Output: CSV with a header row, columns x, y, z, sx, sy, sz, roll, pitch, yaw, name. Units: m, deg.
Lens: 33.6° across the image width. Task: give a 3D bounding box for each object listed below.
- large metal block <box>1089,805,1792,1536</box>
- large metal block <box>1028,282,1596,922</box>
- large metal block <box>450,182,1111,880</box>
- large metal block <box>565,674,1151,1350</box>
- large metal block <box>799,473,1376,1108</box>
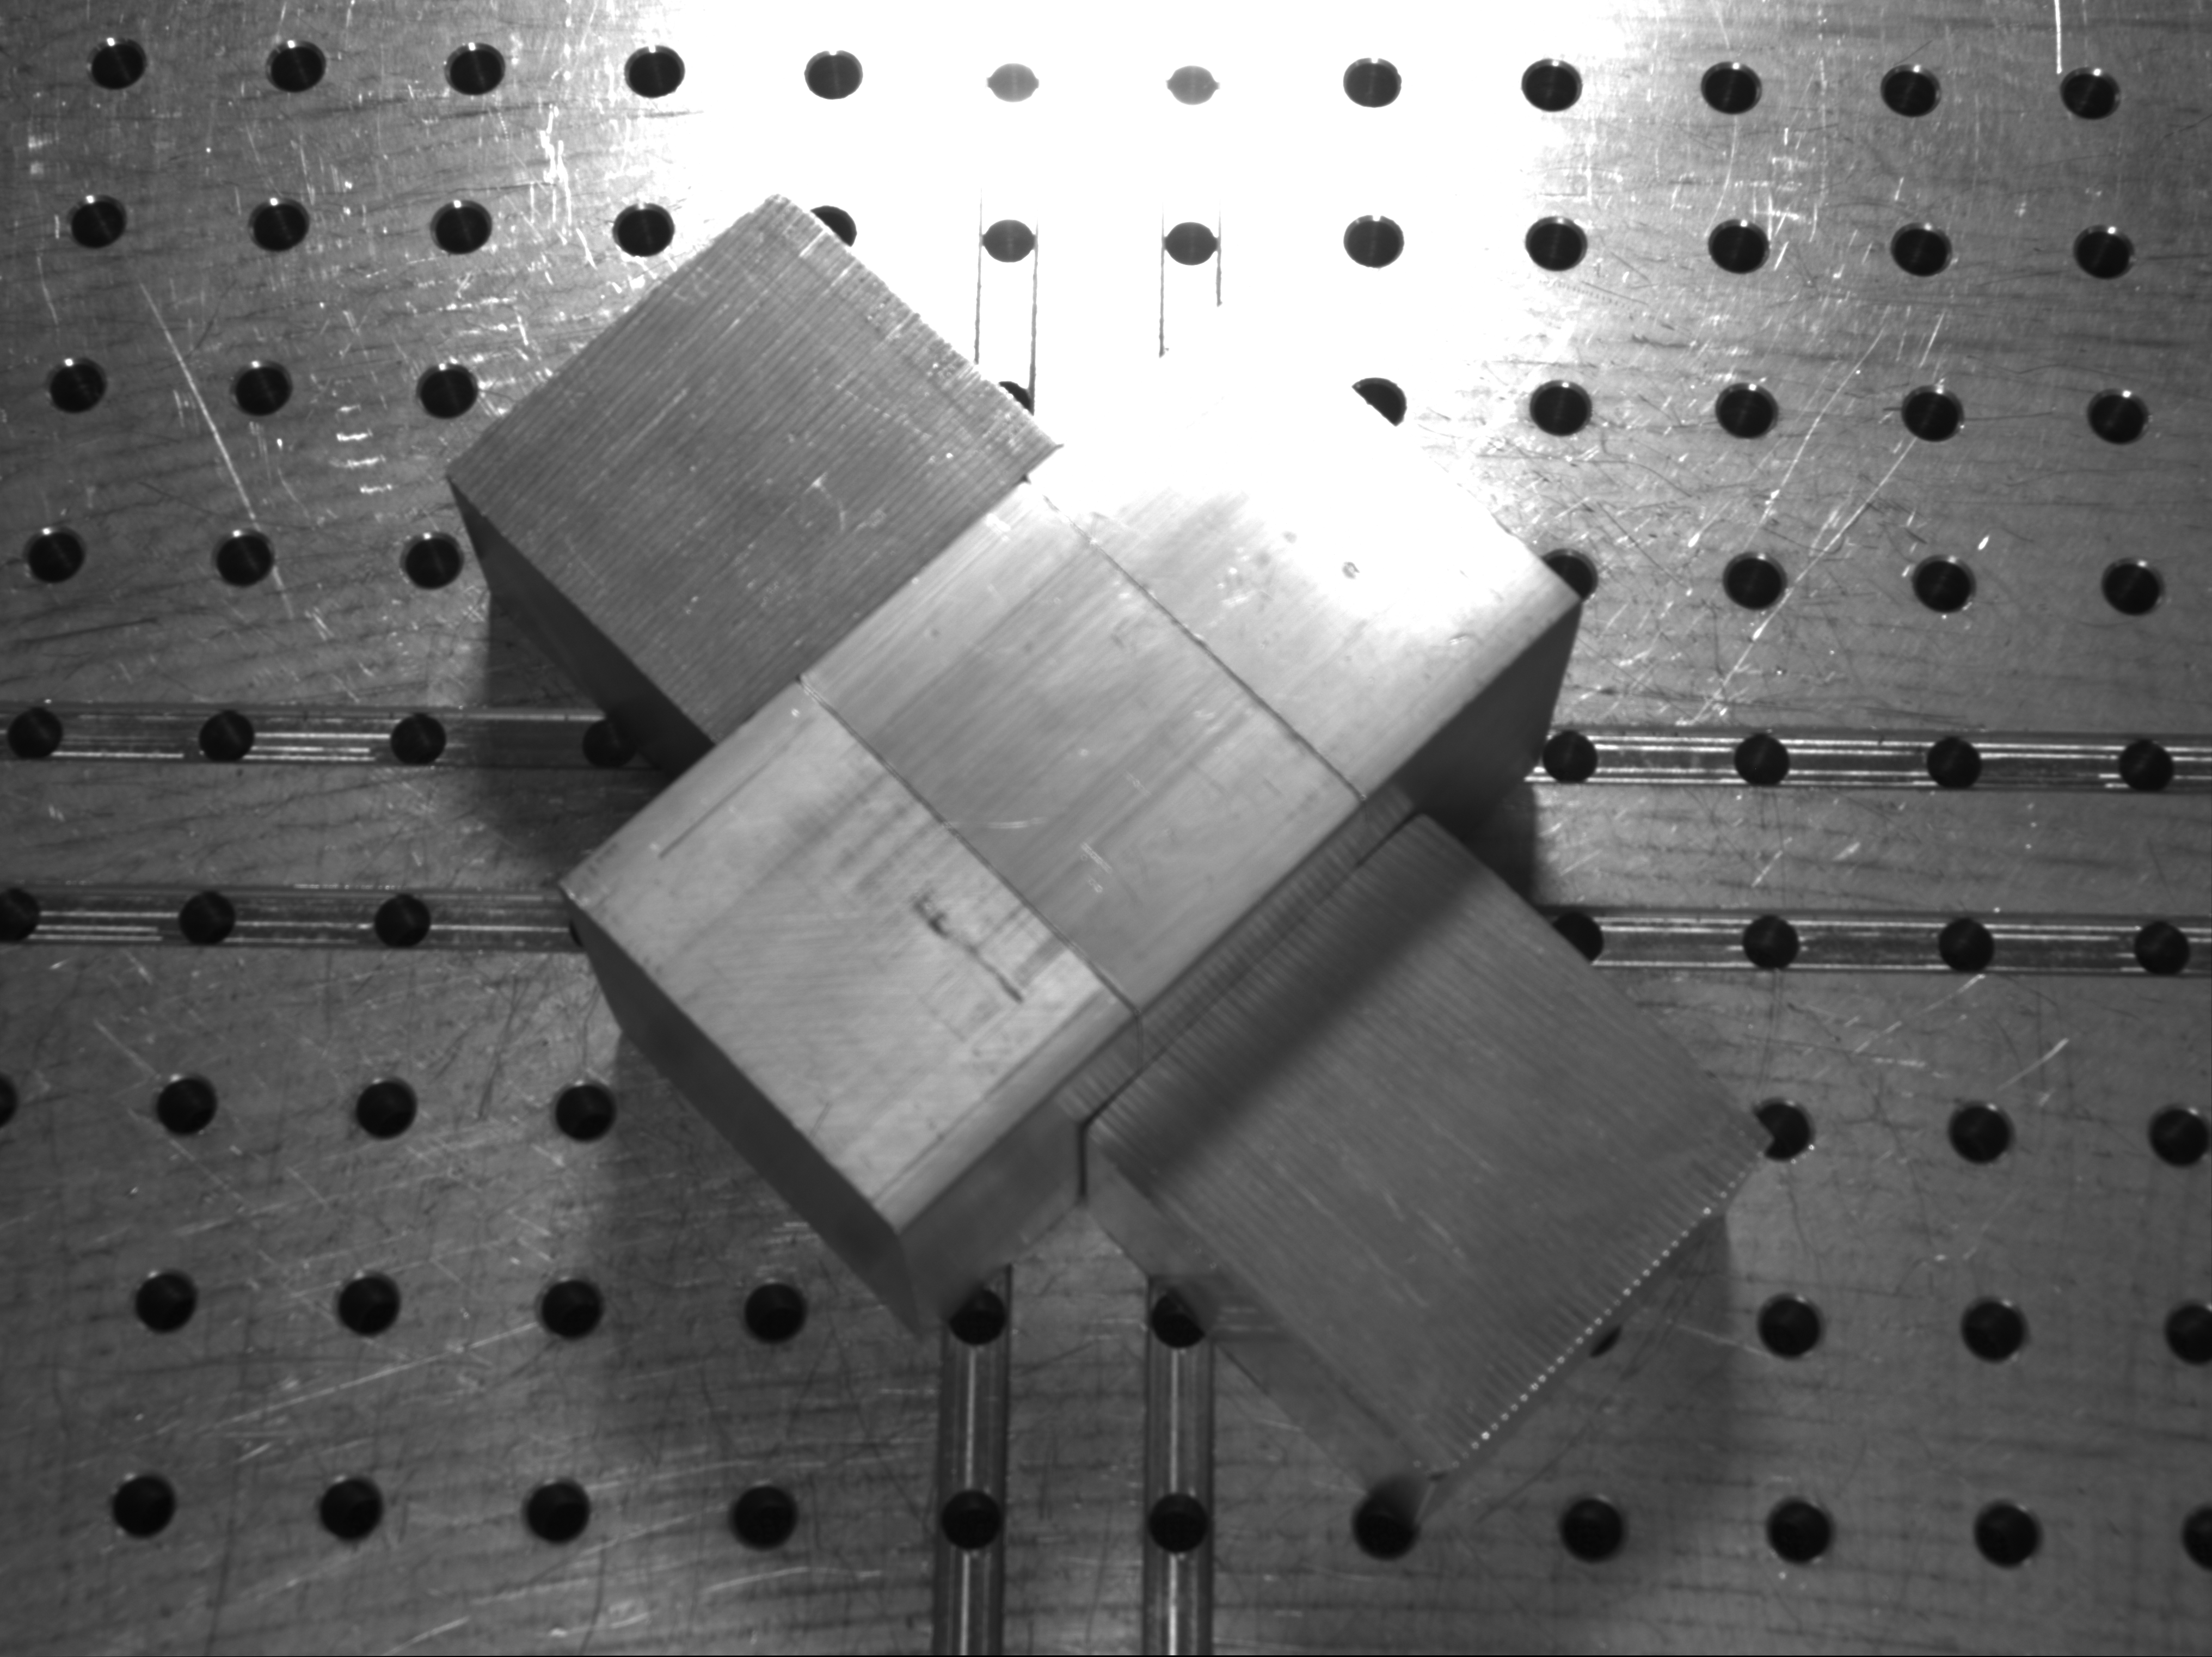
x,y,z,sx,sy,sz,roll,pitch,yaw,name
0.054,0.058,0.613,0.080,0.050,0.080,-42,75,-13,large metal block
0.033,-0.034,0.631,0.050,0.080,0.080,-42,75,-14,large metal block
-0.055,-0.052,0.650,0.080,0.050,0.080,43,76,14,large metal block
-0.039,0.032,0.606,0.050,0.080,0.080,-42,75,-14,large metal block
-0.003,-0.001,0.619,0.050,0.080,0.080,-42,75,-14,large metal block
